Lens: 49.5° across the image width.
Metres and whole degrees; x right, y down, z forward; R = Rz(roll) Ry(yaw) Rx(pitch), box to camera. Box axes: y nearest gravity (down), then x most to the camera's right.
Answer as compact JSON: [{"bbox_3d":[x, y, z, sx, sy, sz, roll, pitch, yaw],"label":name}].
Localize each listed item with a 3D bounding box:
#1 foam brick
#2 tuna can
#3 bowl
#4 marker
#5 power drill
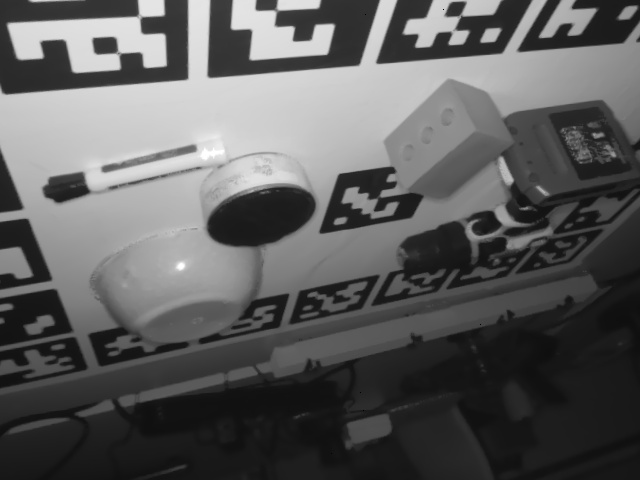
[{"bbox_3d":[0.095,-0.038,0.609,0.052,0.053,0.077,6,142,-34],"label":"foam brick"},{"bbox_3d":[-0.051,0.017,0.624,0.086,0.034,0.085,-12,150,-6],"label":"tuna can"},{"bbox_3d":[-0.113,0.094,0.719,0.162,0.055,0.160,-17,158,-6],"label":"bowl"},{"bbox_3d":[-0.130,-0.001,0.561,0.122,0.020,0.019,-15,149,-6],"label":"marker"},{"bbox_3d":[0.195,0.005,0.730,0.186,0.057,0.185,-8,152,-11],"label":"power drill"}]
